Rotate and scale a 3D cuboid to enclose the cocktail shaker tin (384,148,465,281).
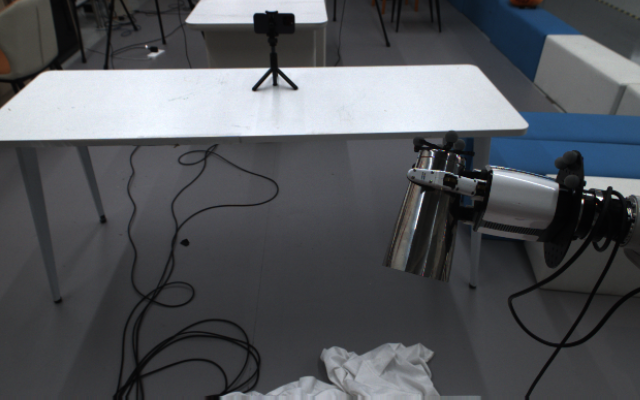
[{"bbox_3d":[0.153,0.017,0.677,0.093,0.170,0.093,15,-5,1],"label":"cocktail shaker tin"}]
